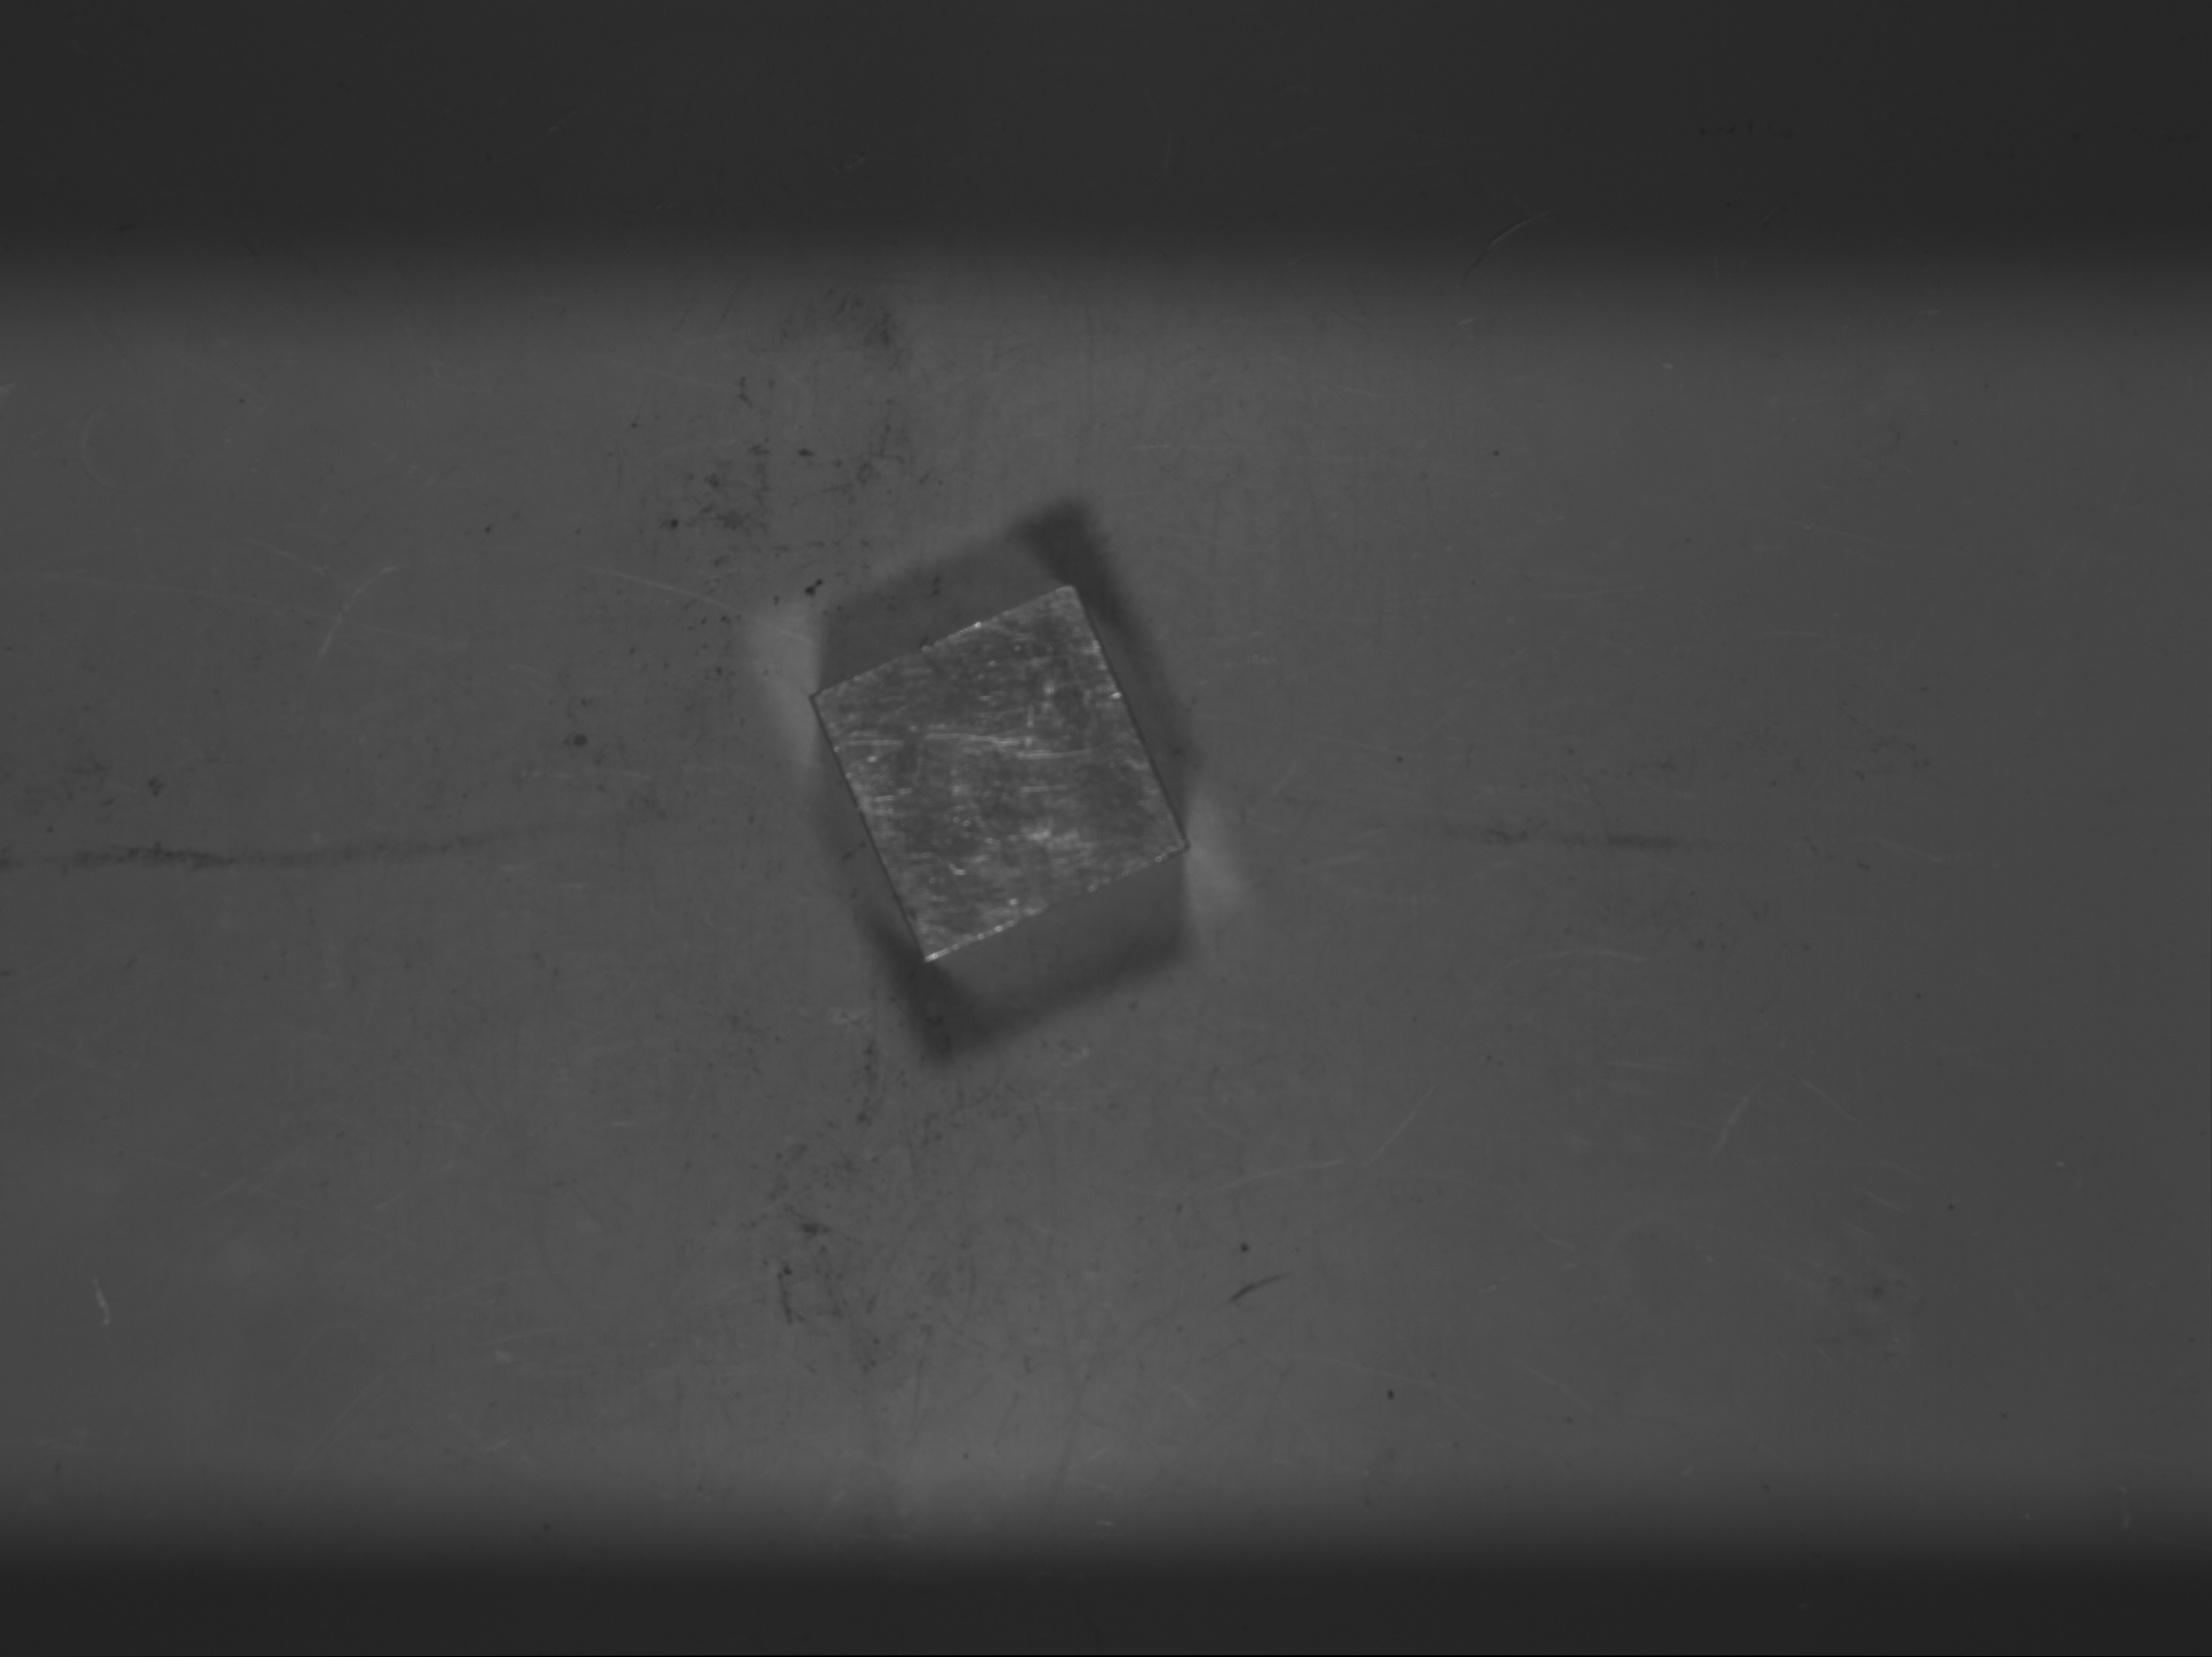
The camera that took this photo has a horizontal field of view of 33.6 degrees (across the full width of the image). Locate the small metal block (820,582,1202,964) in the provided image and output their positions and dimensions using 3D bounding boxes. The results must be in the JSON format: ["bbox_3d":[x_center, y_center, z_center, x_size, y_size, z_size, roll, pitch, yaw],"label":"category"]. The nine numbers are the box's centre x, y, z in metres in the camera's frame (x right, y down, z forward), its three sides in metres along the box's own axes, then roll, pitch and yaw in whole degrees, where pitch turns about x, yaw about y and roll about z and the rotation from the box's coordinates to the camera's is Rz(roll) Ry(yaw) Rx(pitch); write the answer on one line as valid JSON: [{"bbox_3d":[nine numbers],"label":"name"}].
[{"bbox_3d":[-0.016,-0.009,0.642,0.050,0.025,0.050,-23,90,0],"label":"small metal block"}]
